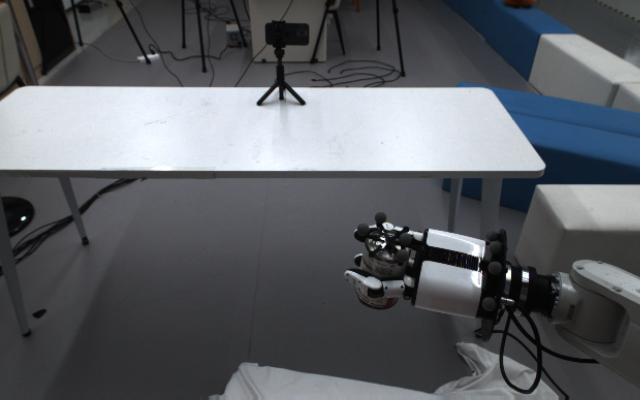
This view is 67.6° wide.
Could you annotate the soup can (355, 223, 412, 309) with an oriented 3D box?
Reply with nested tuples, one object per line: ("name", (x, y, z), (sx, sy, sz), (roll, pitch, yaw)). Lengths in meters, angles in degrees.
("soup can", (0.093, 0.103, 0.712), (0.067, 0.101, 0.067), (5, 36, -4))
